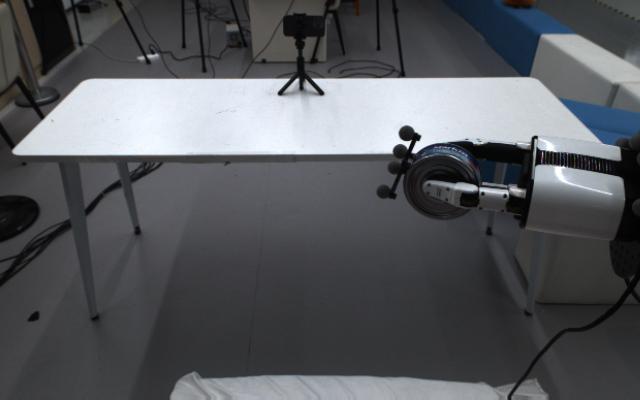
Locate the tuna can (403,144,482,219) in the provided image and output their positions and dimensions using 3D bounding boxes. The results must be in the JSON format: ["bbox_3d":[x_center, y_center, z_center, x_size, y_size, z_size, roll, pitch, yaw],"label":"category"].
[{"bbox_3d":[0.144,-0.022,0.560,0.085,0.085,0.034,12,29,13],"label":"tuna can"}]
